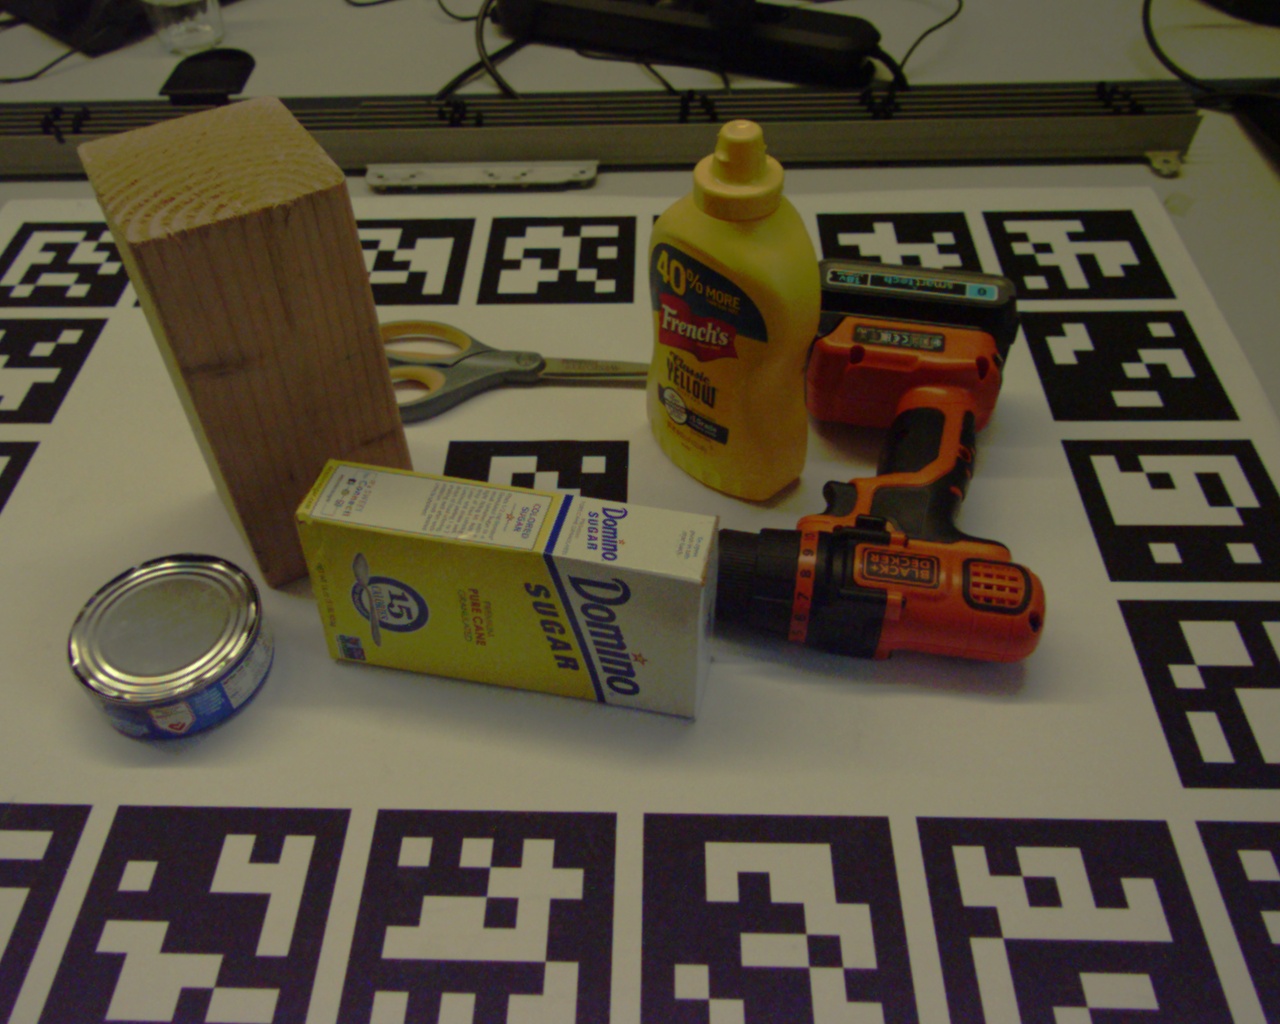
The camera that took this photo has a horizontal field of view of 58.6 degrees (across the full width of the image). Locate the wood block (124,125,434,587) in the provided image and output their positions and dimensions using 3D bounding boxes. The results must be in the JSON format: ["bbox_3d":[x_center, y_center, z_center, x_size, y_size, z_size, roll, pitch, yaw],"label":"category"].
[{"bbox_3d":[-0.169,-0.071,0.572,0.090,0.205,0.091,-23,53,-17],"label":"wood block"}]

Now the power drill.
[{"bbox_3d":[0.099,-0.022,0.601,0.185,0.057,0.187,9,56,11],"label":"power drill"}]

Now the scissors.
[{"bbox_3d":[-0.087,-0.091,0.698,0.203,0.016,0.088,1,45,4],"label":"scissors"}]

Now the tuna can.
[{"bbox_3d":[-0.209,0.059,0.556,0.086,0.033,0.086,-1,49,1],"label":"tuna can"}]

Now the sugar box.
[{"bbox_3d":[-0.044,0.034,0.537,0.177,0.092,0.045,9,46,9],"label":"sugar box"}]

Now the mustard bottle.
[{"bbox_3d":[0.050,-0.099,0.593,0.058,0.190,0.097,-33,56,-24],"label":"mustard bottle"}]
